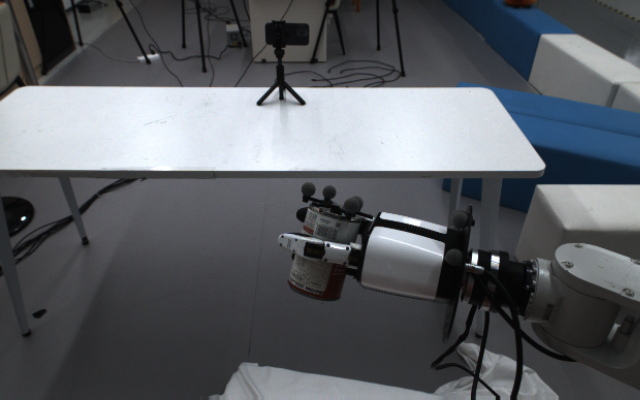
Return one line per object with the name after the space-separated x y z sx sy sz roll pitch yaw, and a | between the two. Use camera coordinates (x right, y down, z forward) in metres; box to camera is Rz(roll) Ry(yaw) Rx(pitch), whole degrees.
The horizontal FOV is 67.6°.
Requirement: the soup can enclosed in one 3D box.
0.007 0.061 0.584 0.067 0.101 0.067 15 7 -2 | soup can
